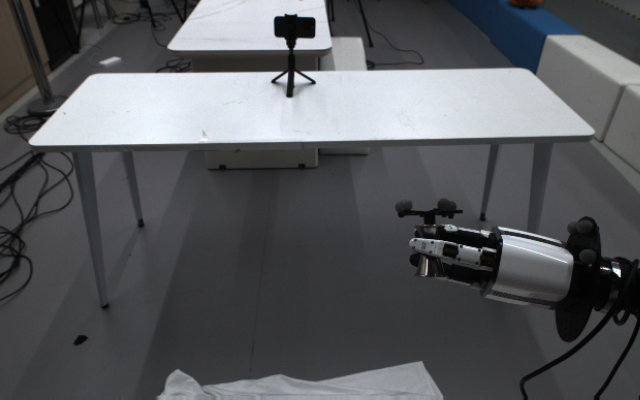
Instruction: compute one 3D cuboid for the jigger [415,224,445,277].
[{"bbox_3d":[0.146,0.067,0.650,0.043,0.071,0.043,1,-5,0],"label":"jigger"}]
